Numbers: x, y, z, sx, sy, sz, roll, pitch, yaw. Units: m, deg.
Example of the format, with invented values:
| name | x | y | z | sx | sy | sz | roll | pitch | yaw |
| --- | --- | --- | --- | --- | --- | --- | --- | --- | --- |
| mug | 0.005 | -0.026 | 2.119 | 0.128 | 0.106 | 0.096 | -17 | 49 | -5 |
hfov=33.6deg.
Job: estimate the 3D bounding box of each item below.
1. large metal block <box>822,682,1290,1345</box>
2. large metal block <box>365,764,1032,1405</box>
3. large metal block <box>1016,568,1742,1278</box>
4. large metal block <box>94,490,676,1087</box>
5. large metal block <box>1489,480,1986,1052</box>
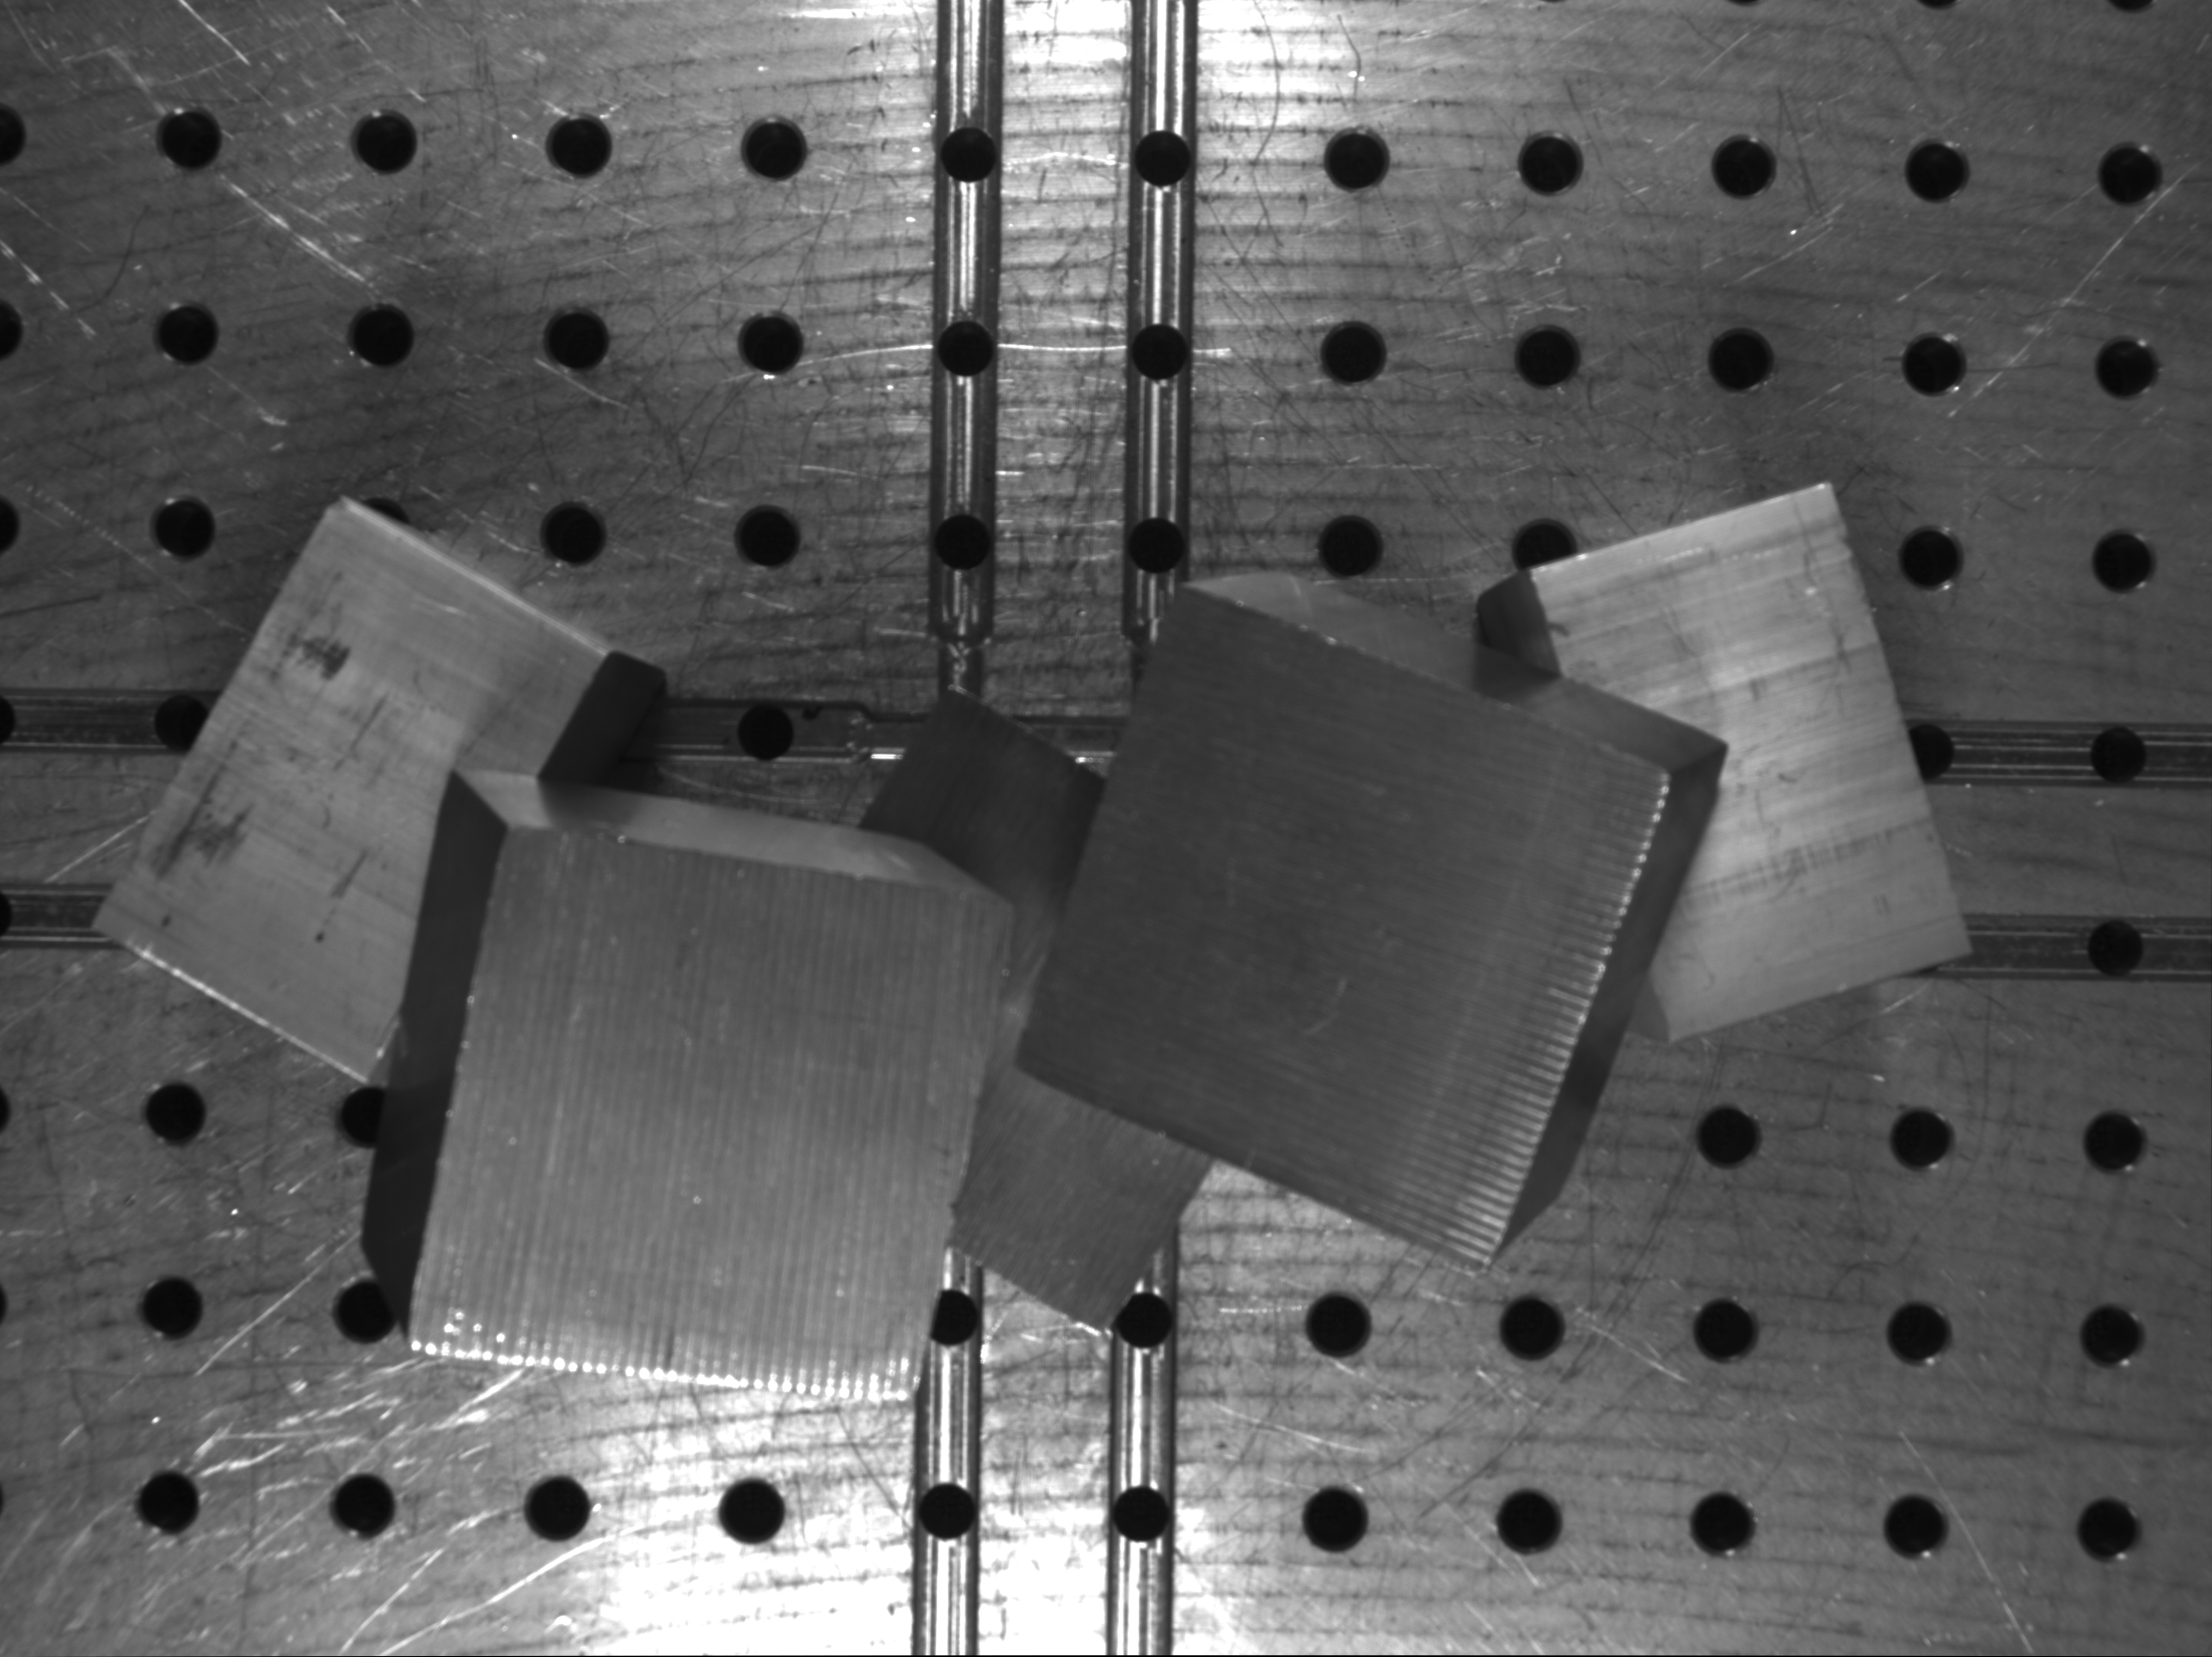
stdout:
| name | x | y | z | sx | sy | sz | roll | pitch | yaw |
| --- | --- | --- | --- | --- | --- | --- | --- | --- | --- |
| large metal block | -0.011 | 0.031 | 0.634 | 0.080 | 0.050 | 0.080 | 32 | 90 | 0 |
| large metal block | -0.064 | 0.039 | 0.569 | 0.080 | 0.050 | 0.080 | 9 | 97 | -21 |
| large metal block | 0.043 | 0.012 | 0.566 | 0.080 | 0.050 | 0.080 | 22 | 103 | 15 |
| large metal block | -0.118 | -0.006 | 0.618 | 0.050 | 0.080 | 0.080 | 30 | 90 | 0 |
| large metal block | 0.104 | -0.010 | 0.621 | 0.050 | 0.080 | 0.080 | -16 | 90 | 0 |
